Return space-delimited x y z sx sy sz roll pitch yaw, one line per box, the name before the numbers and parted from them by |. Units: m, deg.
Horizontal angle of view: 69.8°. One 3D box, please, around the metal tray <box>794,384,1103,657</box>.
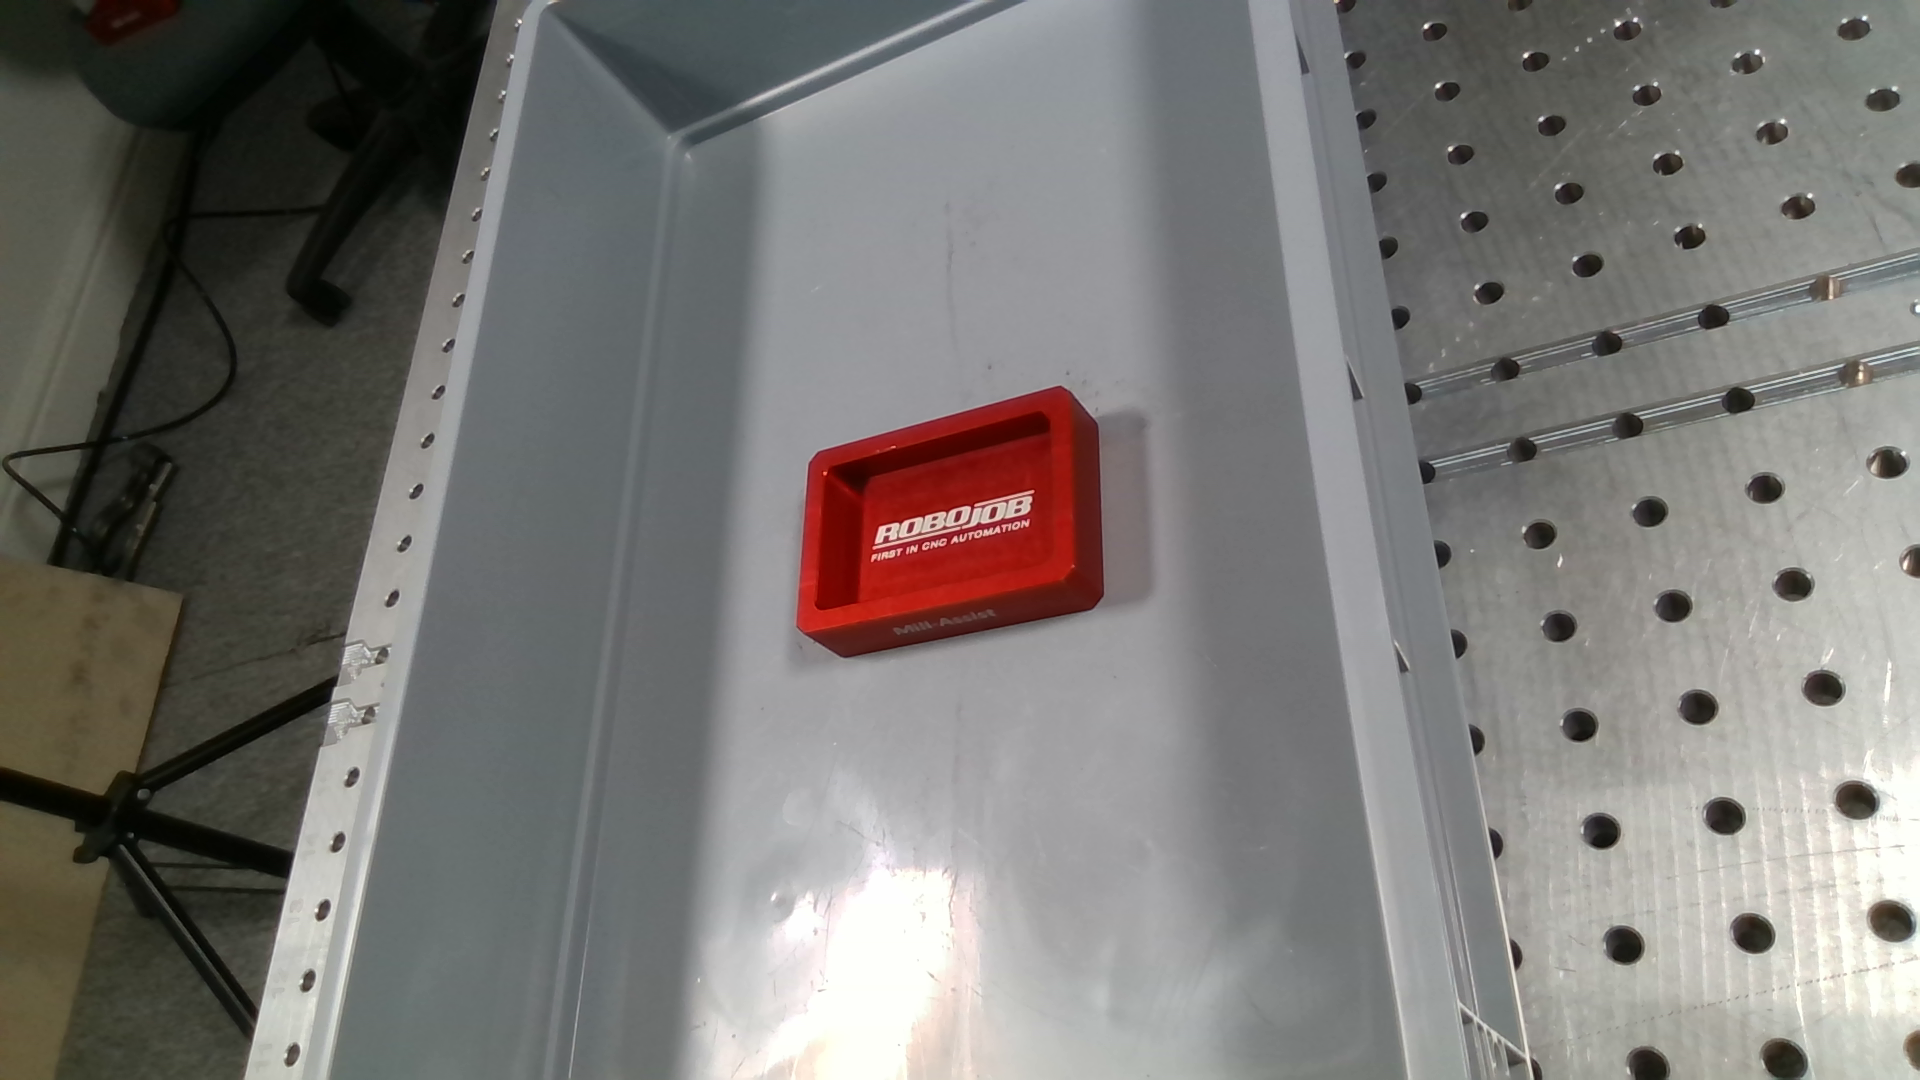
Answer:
metal tray | -0.006 -0.007 0.586 0.130 0.030 0.090 -13 60 26
